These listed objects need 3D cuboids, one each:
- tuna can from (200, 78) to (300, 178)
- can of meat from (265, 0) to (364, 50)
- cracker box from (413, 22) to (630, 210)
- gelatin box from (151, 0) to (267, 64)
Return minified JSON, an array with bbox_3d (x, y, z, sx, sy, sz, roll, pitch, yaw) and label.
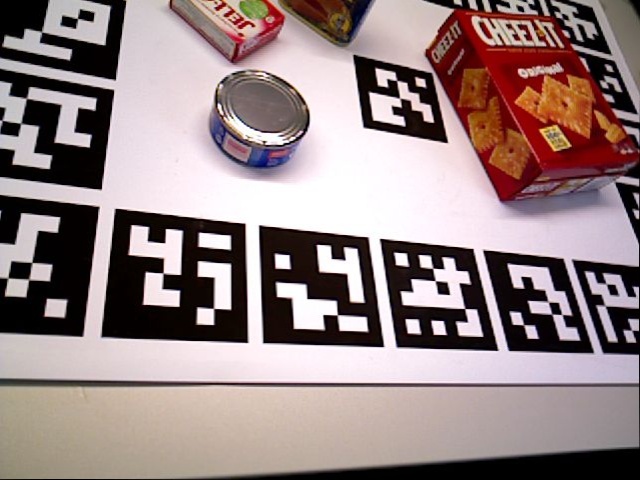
[{"bbox_3d":[-0.063,-0.100,0.485,0.085,0.034,0.085,8,64,-18],"label":"tuna can"},{"bbox_3d":[-0.002,-0.267,0.581,0.101,0.086,0.056,31,55,-3],"label":"can of meat"},{"bbox_3d":[0.229,-0.149,0.621,0.161,0.074,0.212,-11,67,-29],"label":"cracker box"},{"bbox_3d":[-0.109,-0.227,0.539,0.089,0.031,0.071,43,53,0],"label":"gelatin box"}]
